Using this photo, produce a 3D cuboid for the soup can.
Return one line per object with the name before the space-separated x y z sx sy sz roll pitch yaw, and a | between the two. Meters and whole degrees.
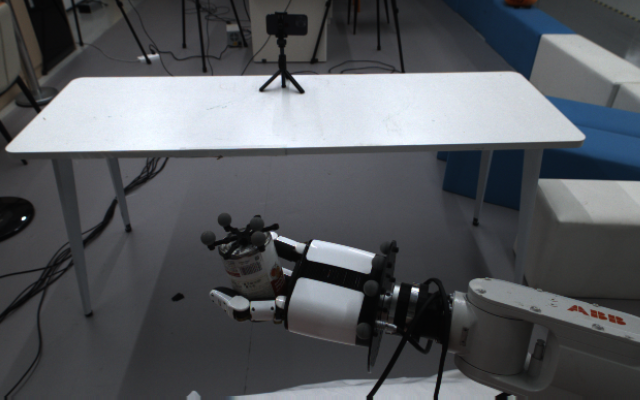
soup can | -0.079 0.092 0.602 0.067 0.101 0.067 -11 27 6
